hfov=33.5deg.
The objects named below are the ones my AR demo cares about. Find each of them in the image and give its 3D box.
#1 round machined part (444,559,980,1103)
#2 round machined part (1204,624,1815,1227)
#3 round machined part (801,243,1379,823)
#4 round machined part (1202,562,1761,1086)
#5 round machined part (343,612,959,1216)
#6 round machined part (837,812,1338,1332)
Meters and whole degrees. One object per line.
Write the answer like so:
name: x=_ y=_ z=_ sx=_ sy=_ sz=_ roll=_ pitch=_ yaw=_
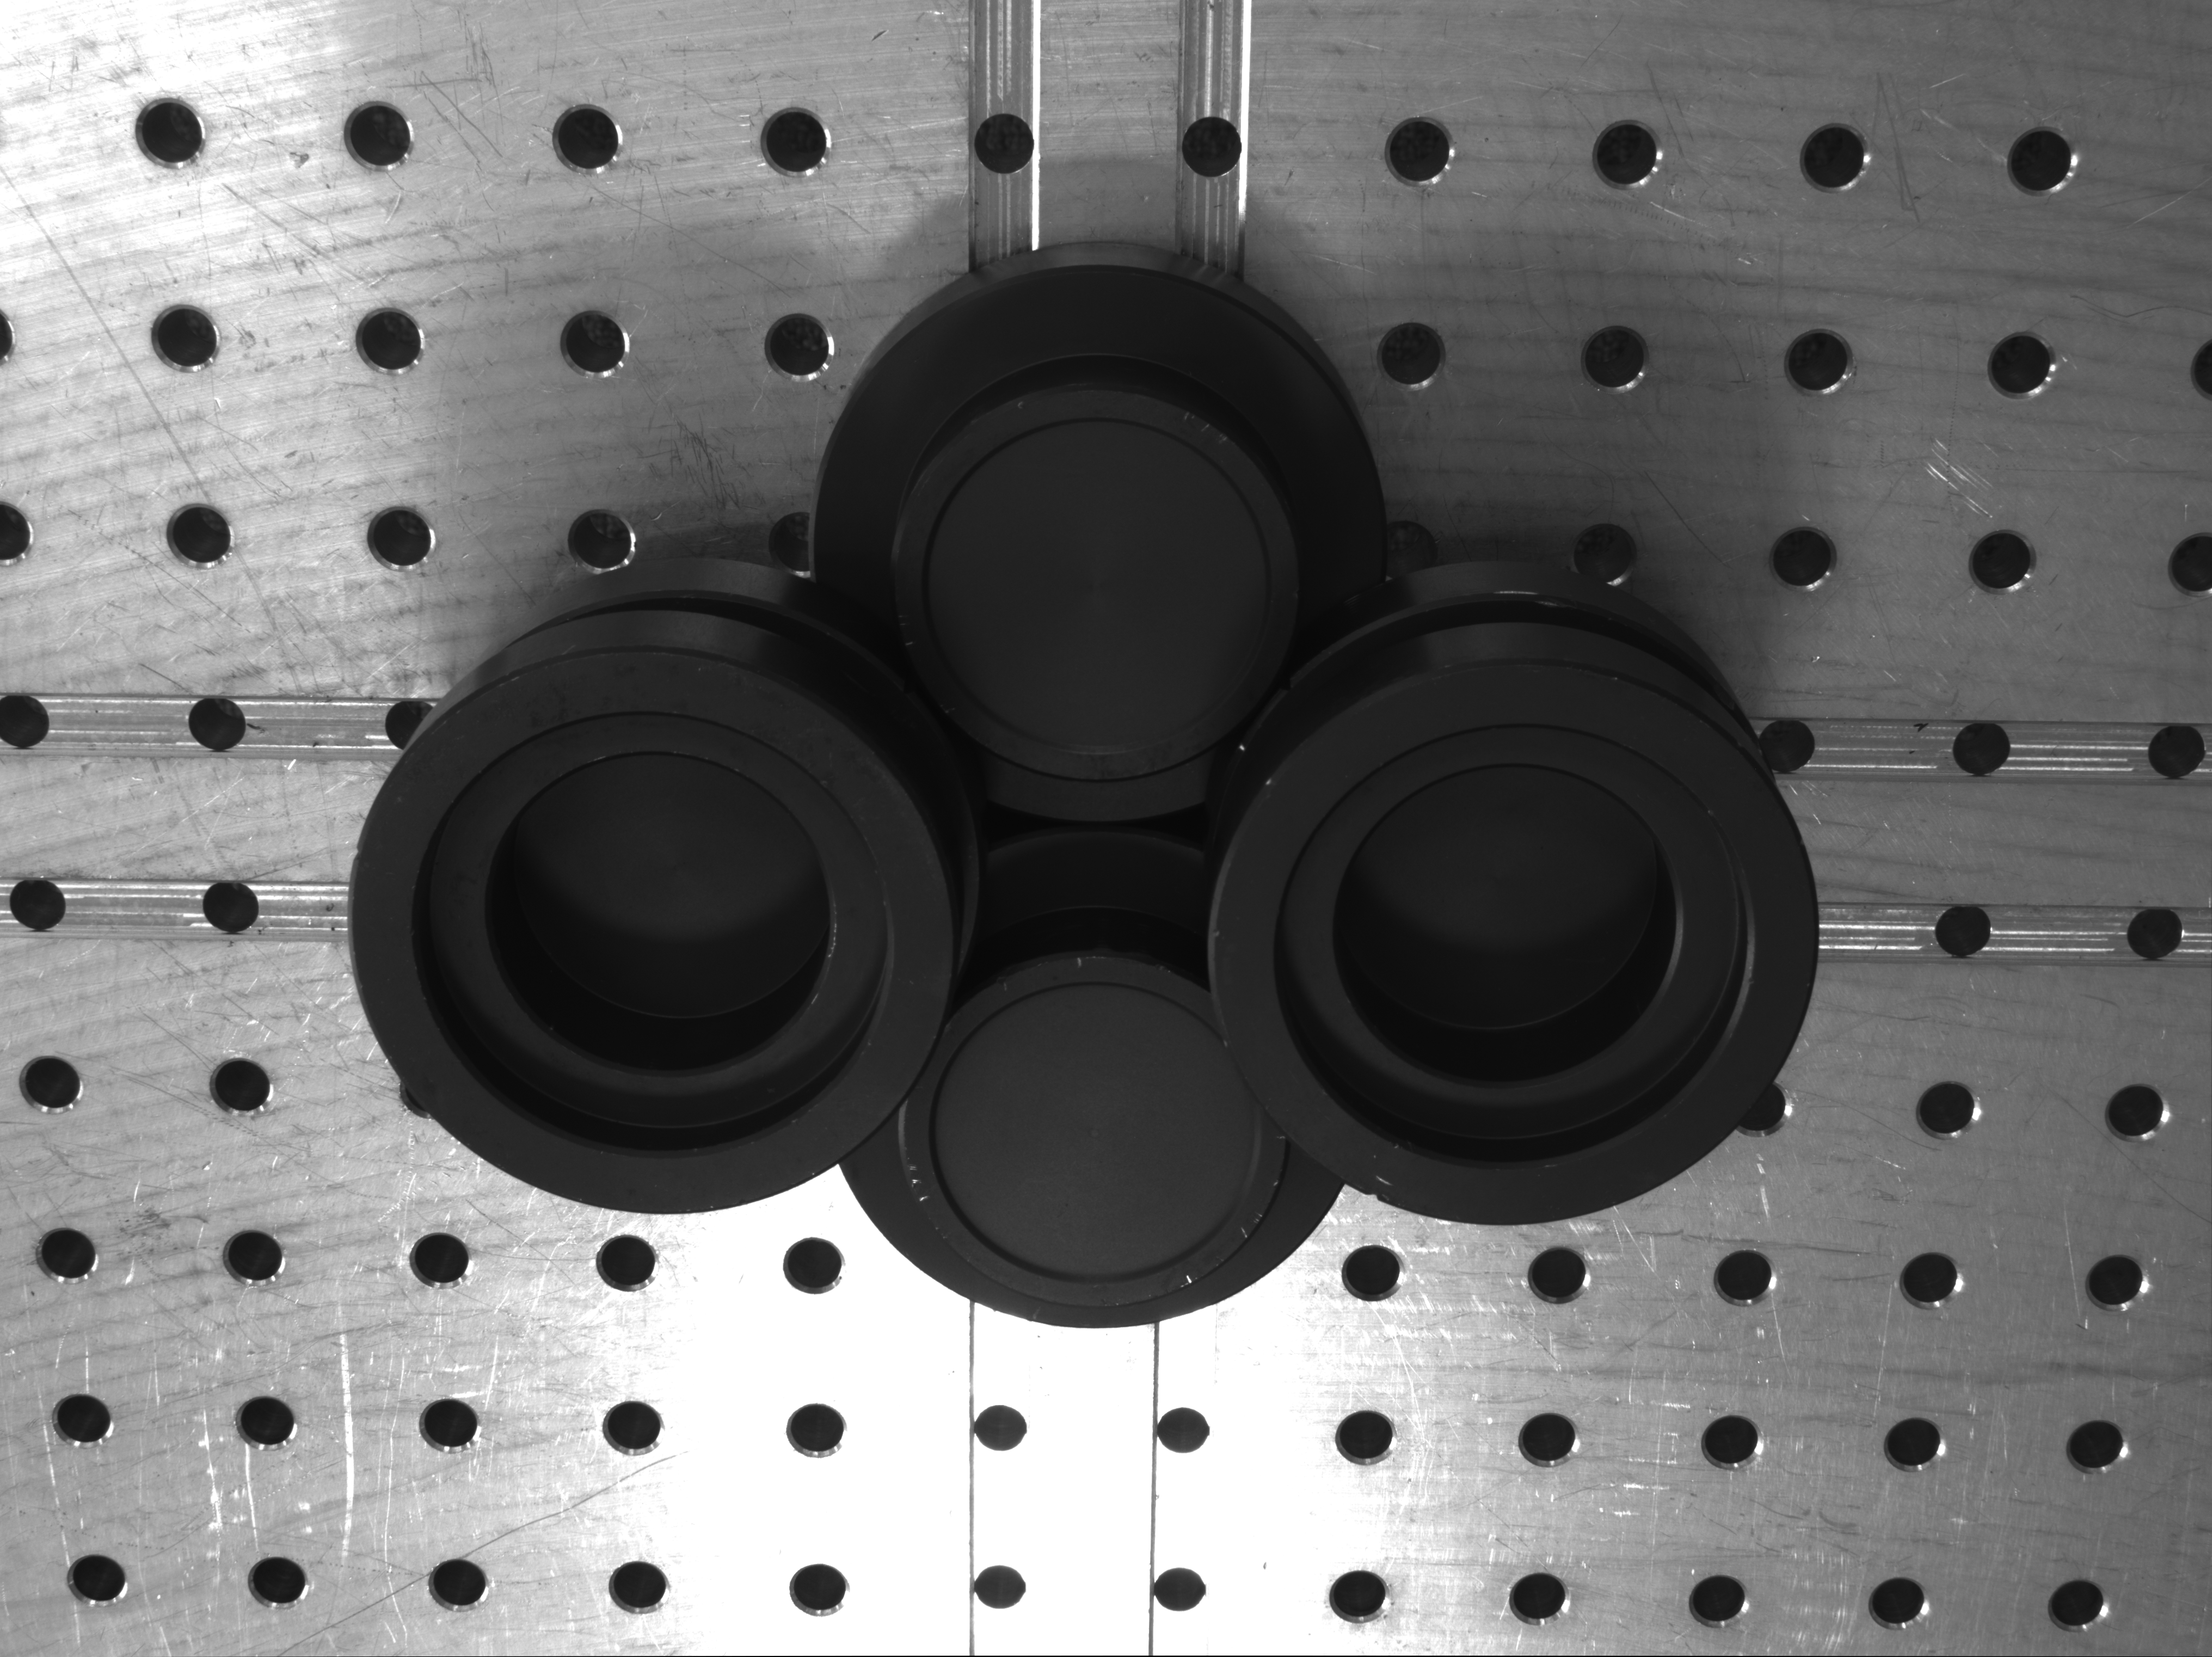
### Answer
round machined part: x=-0.070 y=0.000 z=0.637 sx=0.098 sy=0.042 sz=0.098 roll=0 pitch=110 yaw=0
round machined part: x=0.065 y=0.013 z=0.608 sx=0.098 sy=0.042 sz=0.098 roll=0 pitch=110 yaw=0
round machined part: x=-0.003 y=-0.047 z=0.620 sx=0.098 sy=0.042 sz=0.098 roll=0 pitch=110 yaw=0
round machined part: x=0.065 y=0.001 z=0.637 sx=0.098 sy=0.042 sz=0.098 roll=0 pitch=110 yaw=0
round machined part: x=-0.073 y=0.011 z=0.607 sx=0.098 sy=0.042 sz=0.098 roll=0 pitch=110 yaw=0
round machined part: x=-0.003 y=0.046 z=0.654 sx=0.098 sy=0.042 sz=0.098 roll=0 pitch=110 yaw=0
